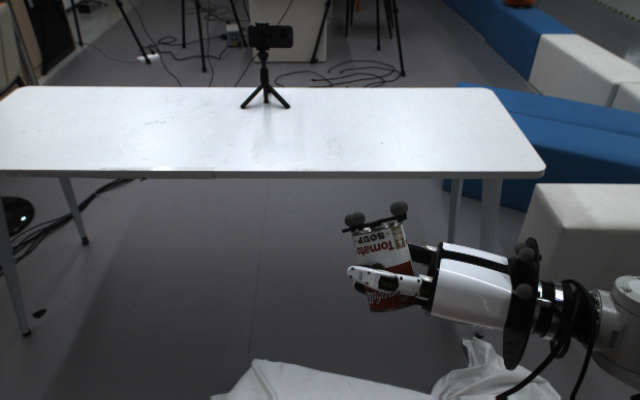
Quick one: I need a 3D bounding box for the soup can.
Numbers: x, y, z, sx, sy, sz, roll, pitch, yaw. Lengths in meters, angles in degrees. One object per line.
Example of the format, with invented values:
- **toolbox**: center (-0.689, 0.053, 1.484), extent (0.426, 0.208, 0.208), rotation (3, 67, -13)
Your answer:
- **soup can**: center (0.085, 0.082, 0.612), extent (0.067, 0.101, 0.067), rotation (-14, -2, -1)
